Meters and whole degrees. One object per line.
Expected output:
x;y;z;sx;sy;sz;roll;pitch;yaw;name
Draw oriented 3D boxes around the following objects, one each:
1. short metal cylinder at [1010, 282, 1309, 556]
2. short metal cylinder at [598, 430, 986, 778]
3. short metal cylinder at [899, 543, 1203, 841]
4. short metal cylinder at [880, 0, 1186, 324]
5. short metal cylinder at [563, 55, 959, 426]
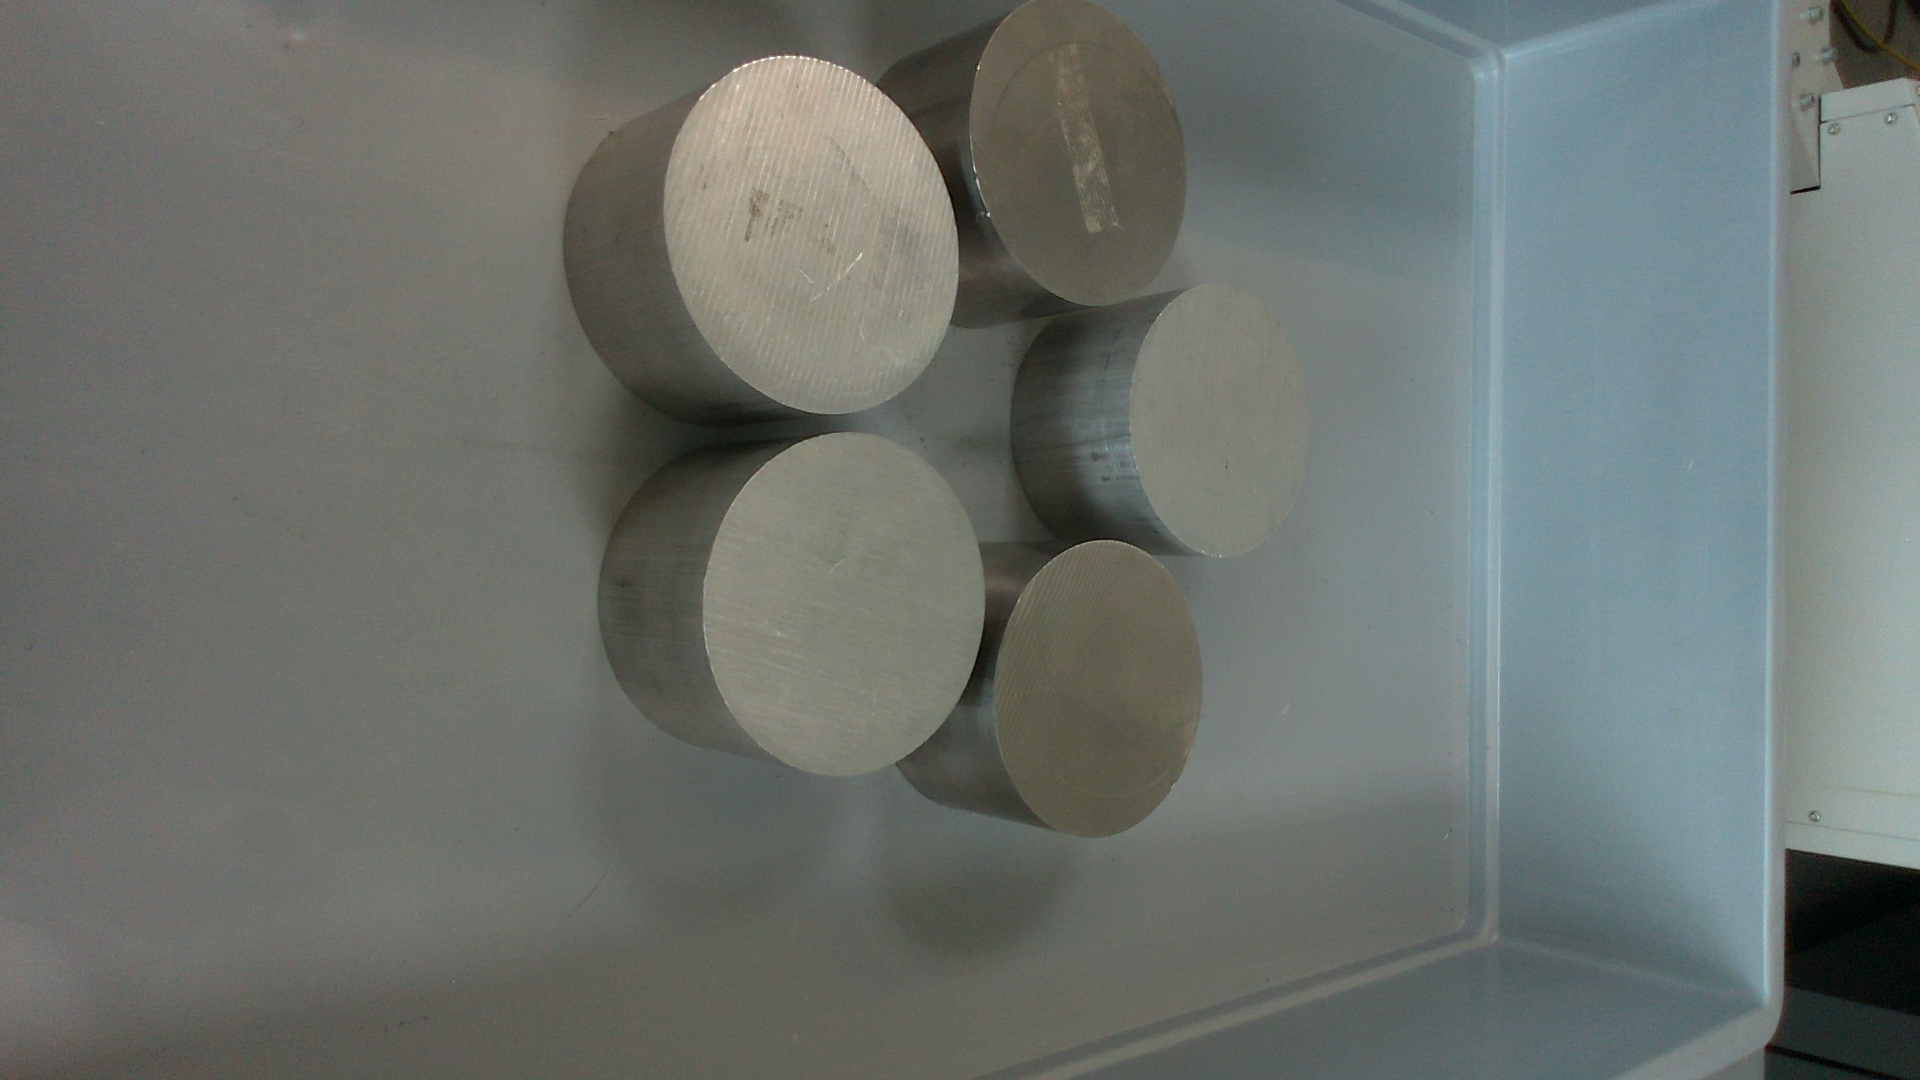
0.062;-0.035;0.422;0.080;0.050;0.080;0;90;-40;short metal cylinder
-0.040;0.015;0.337;0.080;0.050;0.080;0;90;-40;short metal cylinder
0.023;0.041;0.390;0.080;0.050;0.080;0;90;-40;short metal cylinder
0.017;-0.103;0.385;0.080;0.050;0.080;0;90;-40;short metal cylinder
-0.047;-0.069;0.331;0.080;0.050;0.080;0;90;-40;short metal cylinder
